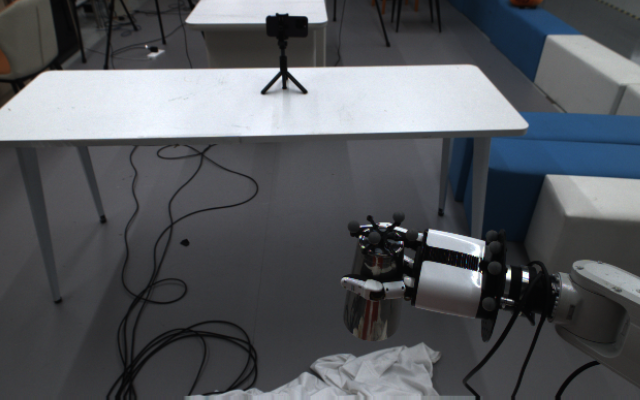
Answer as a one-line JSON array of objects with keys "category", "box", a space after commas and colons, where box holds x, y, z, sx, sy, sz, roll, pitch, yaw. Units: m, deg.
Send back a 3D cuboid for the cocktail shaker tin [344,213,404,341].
[{"category": "cocktail shaker tin", "box": [0.088, 0.120, 0.730, 0.093, 0.170, 0.093, 1, 38, 0]}]
